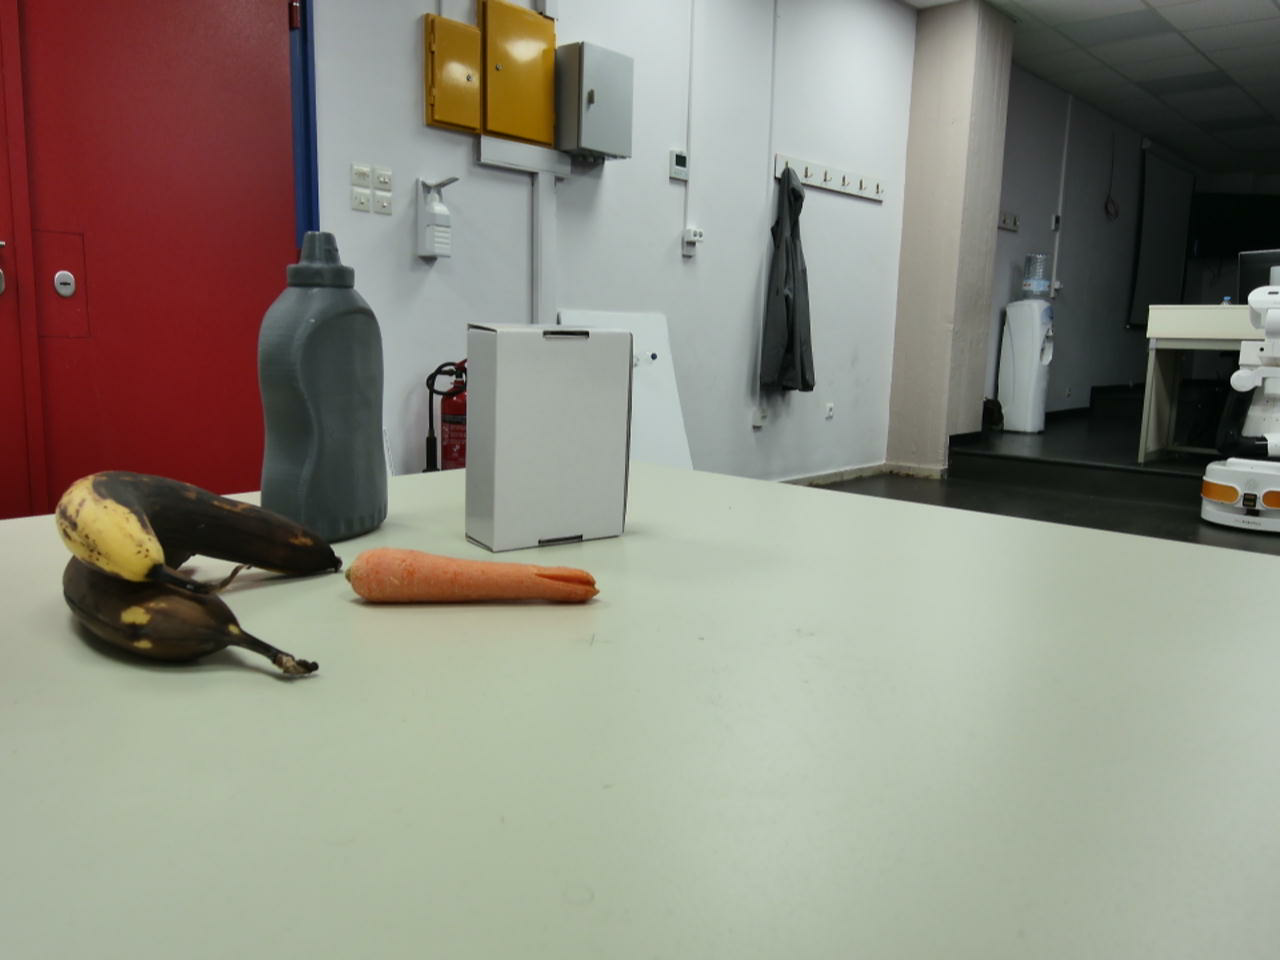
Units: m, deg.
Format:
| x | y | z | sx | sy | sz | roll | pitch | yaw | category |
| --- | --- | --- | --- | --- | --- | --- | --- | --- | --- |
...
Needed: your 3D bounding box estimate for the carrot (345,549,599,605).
| x | y | z | sx | sy | sz | roll | pitch | yaw | category |
| --- | --- | --- | --- | --- | --- | --- | --- | --- | --- |
| -0.091 | 0.053 | 0.545 | 0.136 | 0.032 | 0.030 | 0 | 7 | -2 | carrot |
